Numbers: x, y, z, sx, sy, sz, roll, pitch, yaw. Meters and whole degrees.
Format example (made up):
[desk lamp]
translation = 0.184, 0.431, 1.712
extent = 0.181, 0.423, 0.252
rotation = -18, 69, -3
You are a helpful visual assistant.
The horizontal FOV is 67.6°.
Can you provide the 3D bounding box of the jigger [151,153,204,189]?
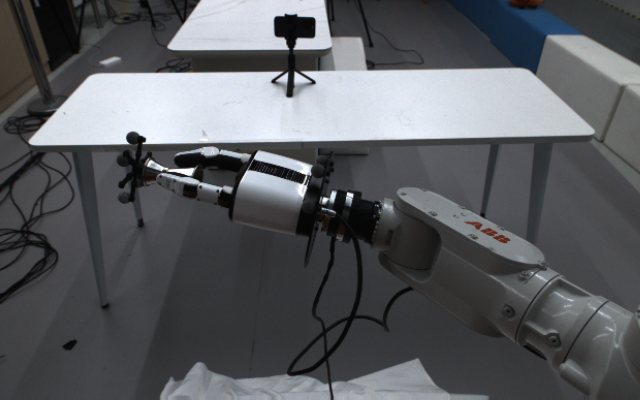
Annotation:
[jigger]
translation = -0.190, -0.033, 0.648
extent = 0.071, 0.043, 0.043
rotation = 11, 35, 2
